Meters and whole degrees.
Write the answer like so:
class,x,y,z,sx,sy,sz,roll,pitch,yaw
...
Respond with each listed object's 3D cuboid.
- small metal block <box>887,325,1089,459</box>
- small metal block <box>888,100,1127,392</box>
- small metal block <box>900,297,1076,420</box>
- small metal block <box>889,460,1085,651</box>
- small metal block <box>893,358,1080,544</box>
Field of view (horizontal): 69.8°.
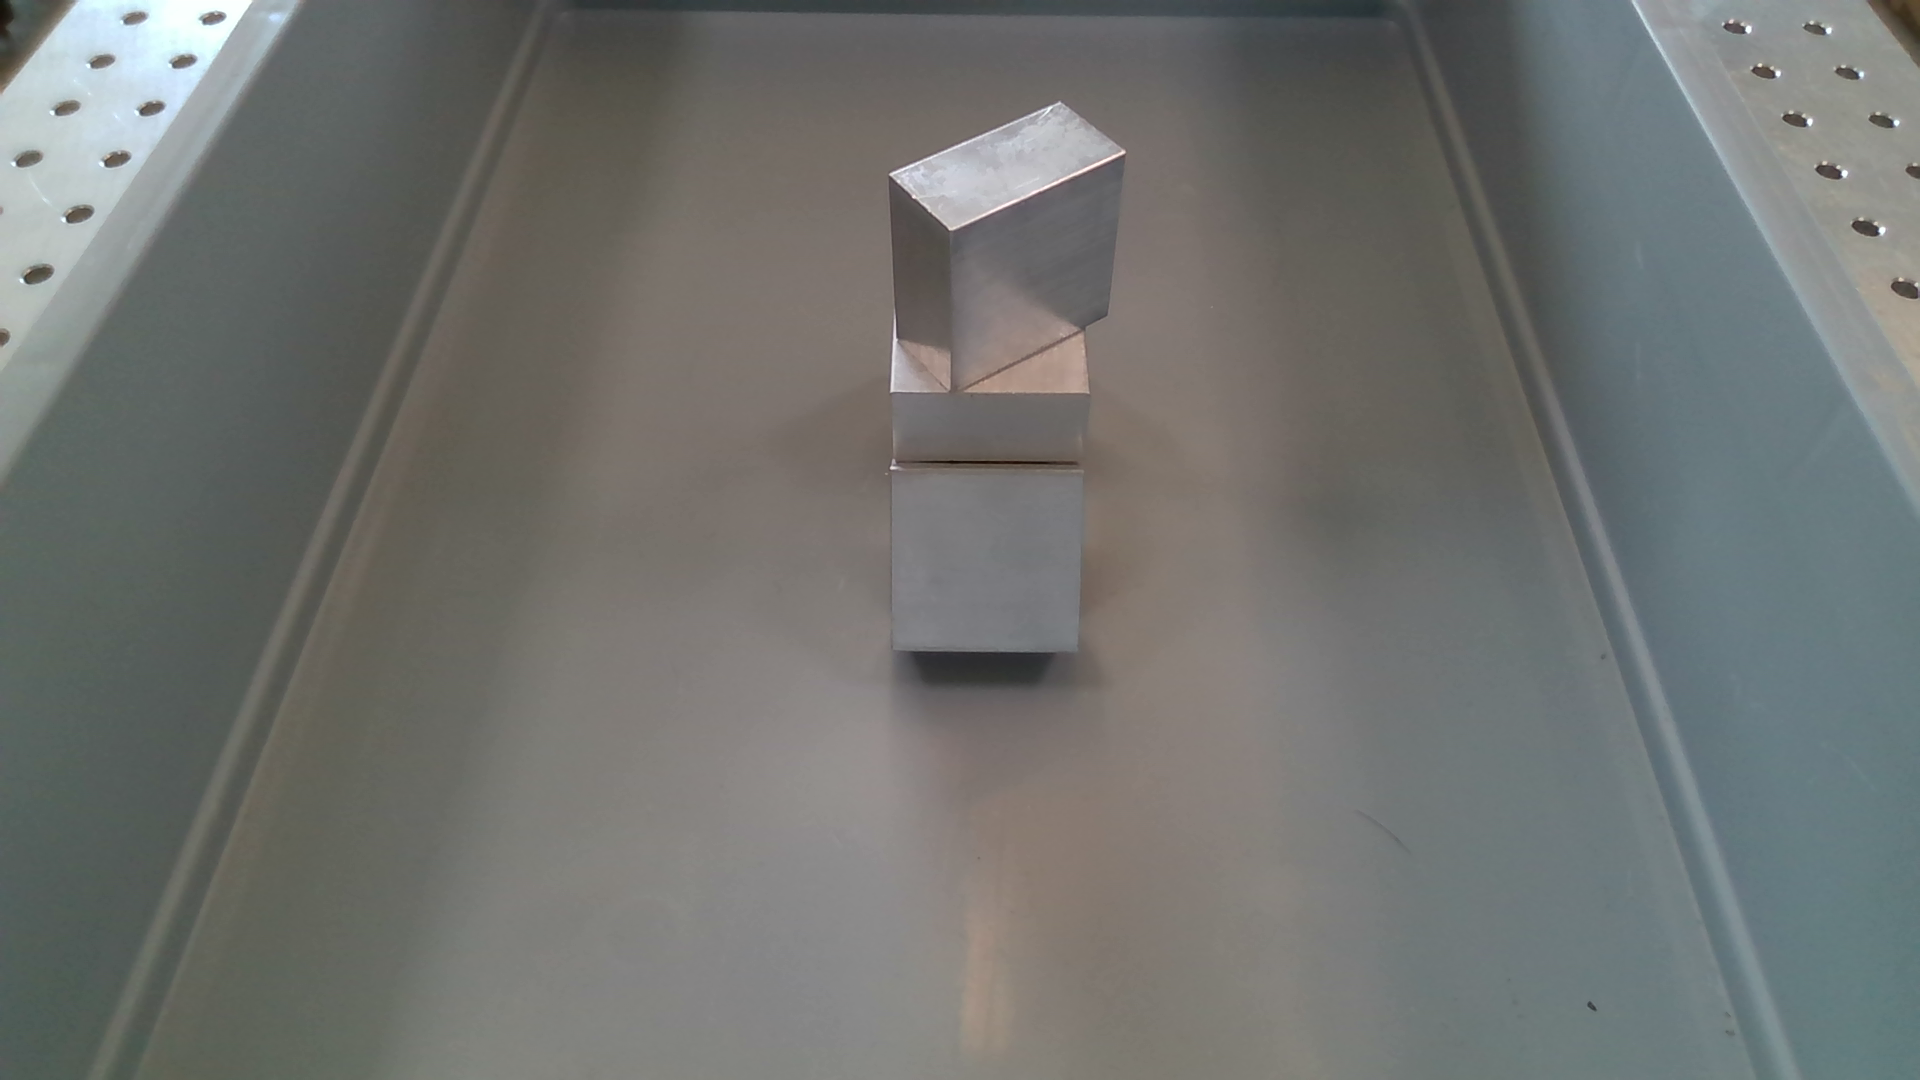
class,x,y,z,sx,sy,sz,roll,pitch,yaw
small metal block,0.007,-0.049,0.366,0.050,0.025,0.050,1,50,0
small metal block,0.011,-0.072,0.337,0.050,0.050,0.025,-28,55,-22
small metal block,0.008,-0.054,0.417,0.050,0.050,0.025,0,83,0
small metal block,0.007,0.002,0.371,0.050,0.050,0.025,0,16,0
small metal block,0.007,-0.025,0.396,0.050,0.050,0.025,1,50,0
